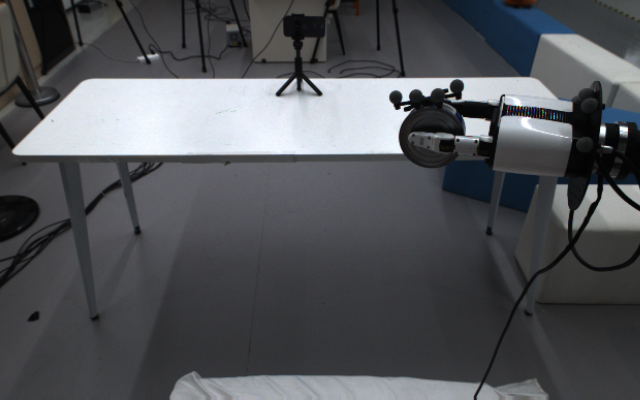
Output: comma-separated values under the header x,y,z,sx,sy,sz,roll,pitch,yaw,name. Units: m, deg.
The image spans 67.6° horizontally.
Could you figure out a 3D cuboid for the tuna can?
x,y,z,sx,sy,sz,roll,pitch,yaw,name
0.153,-0.090,0.656,0.085,0.085,0.034,13,29,15,tuna can
